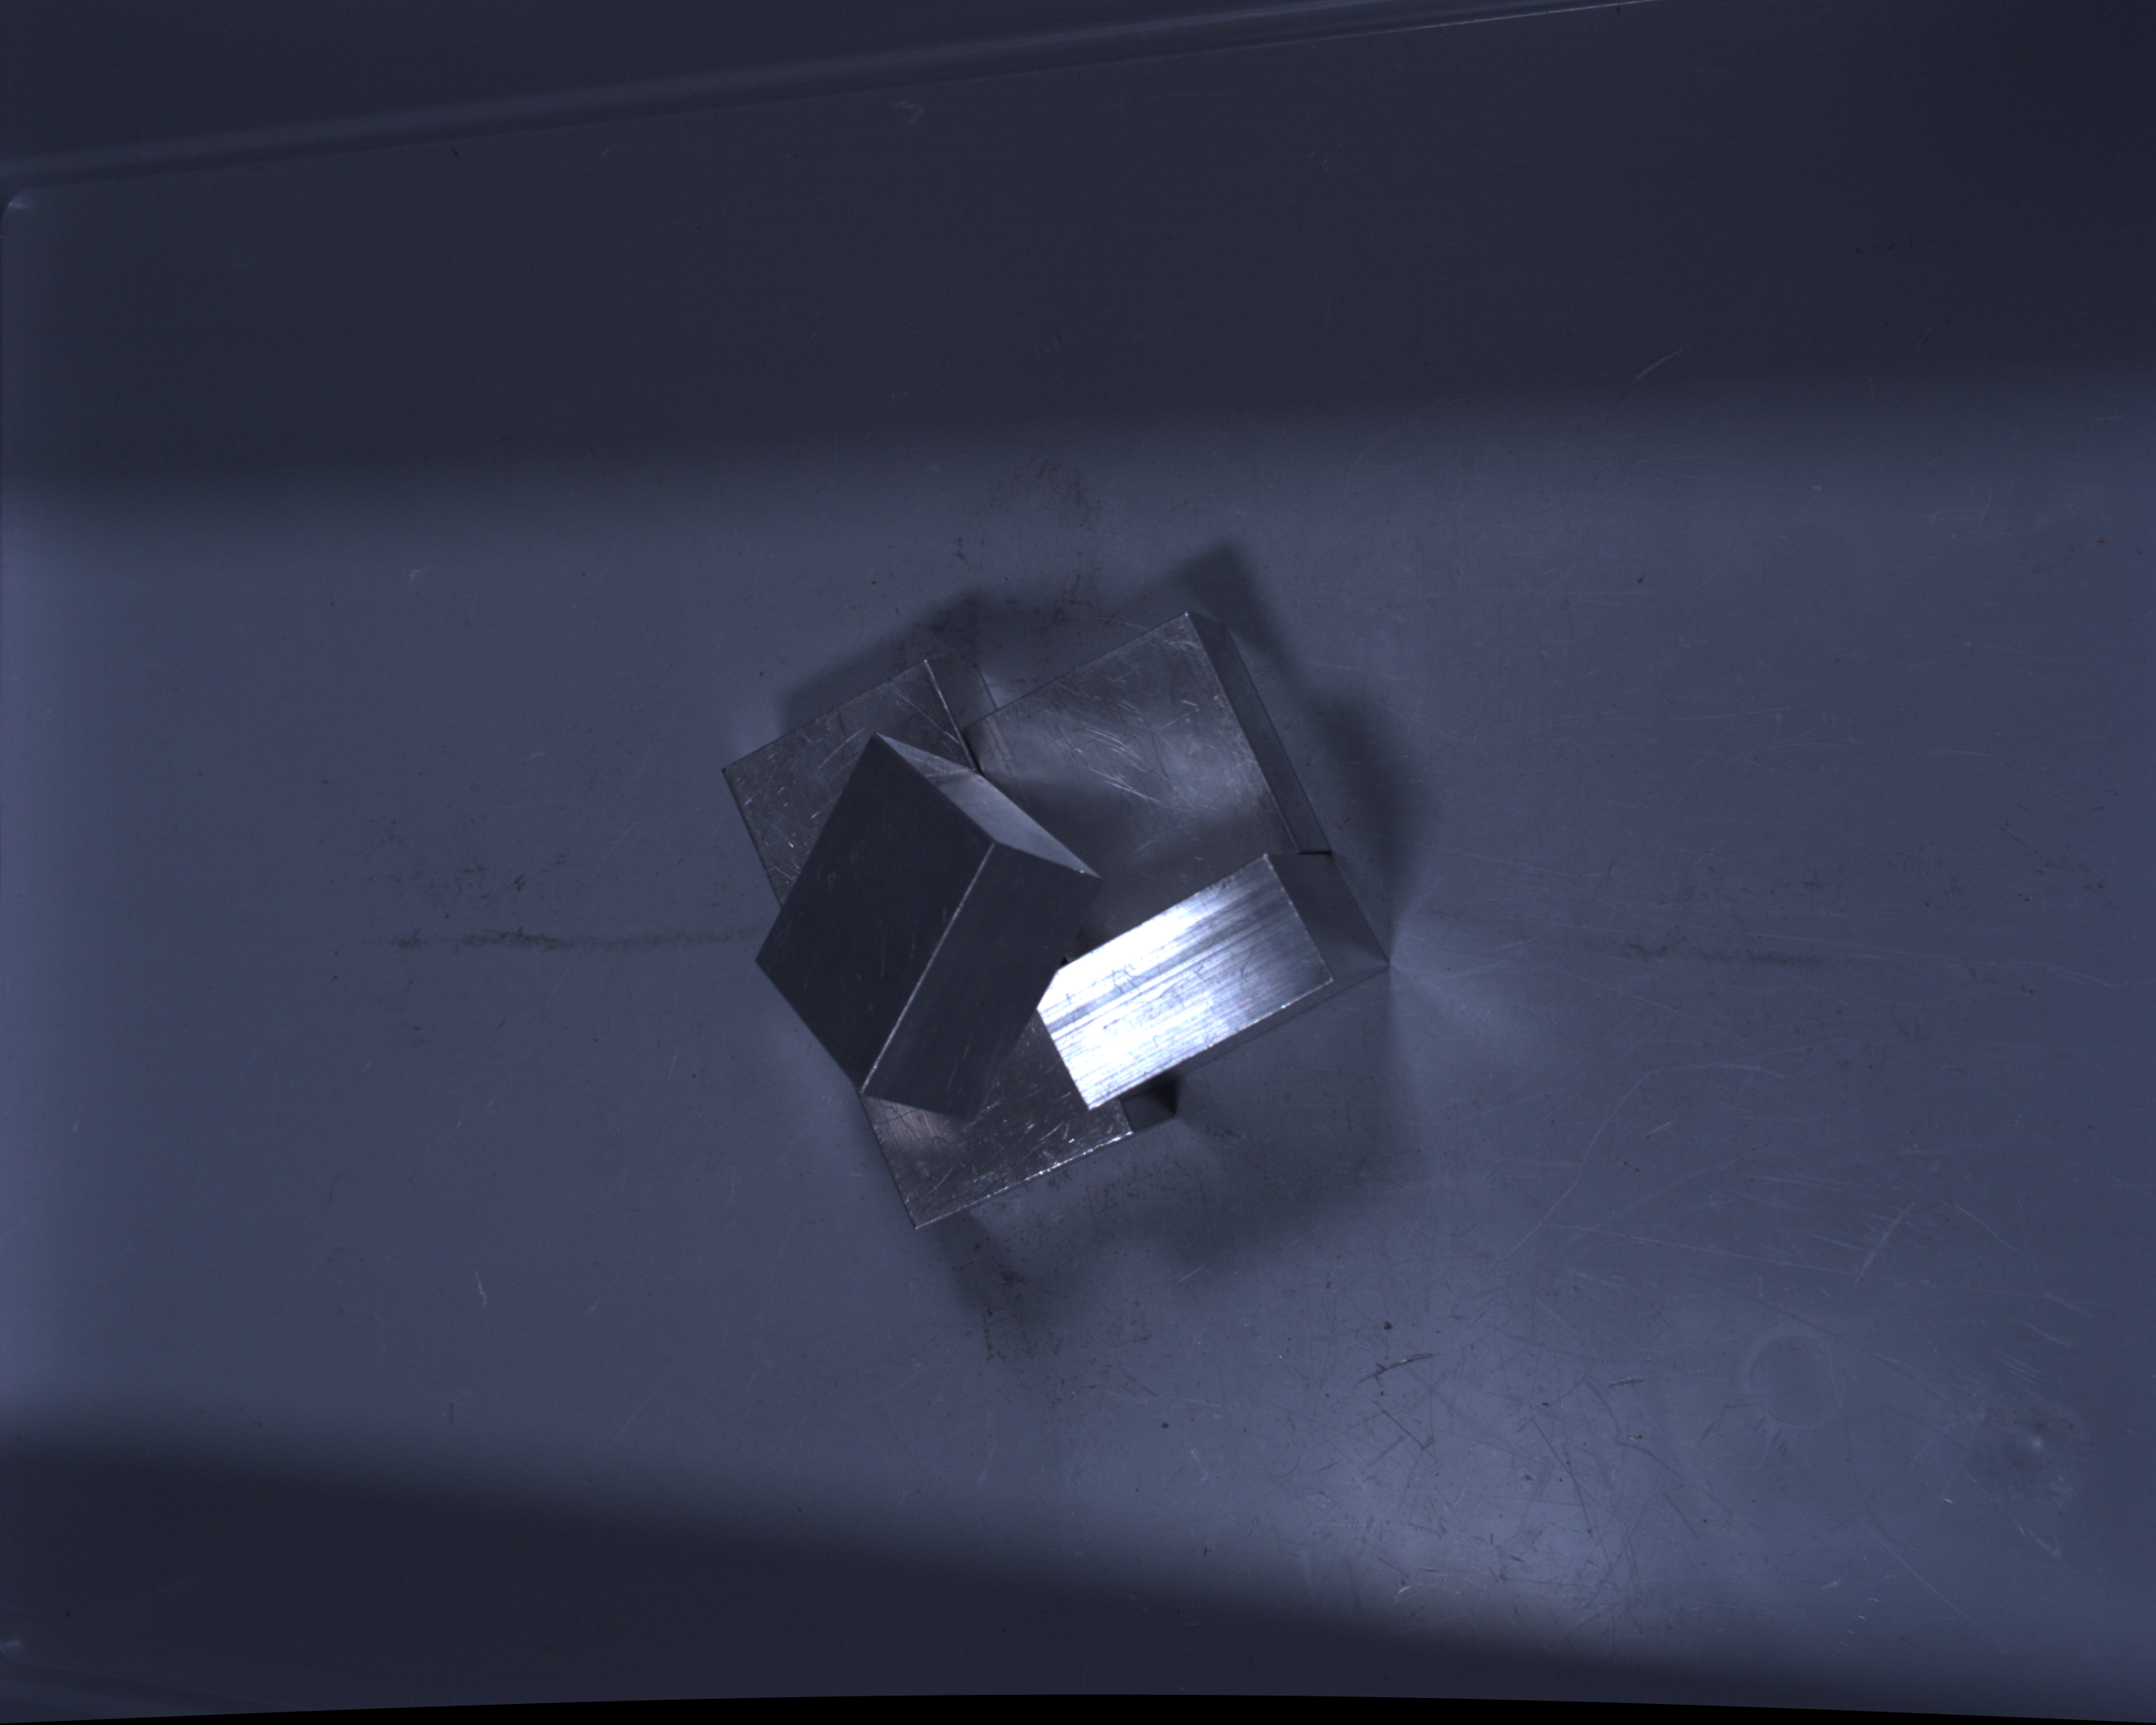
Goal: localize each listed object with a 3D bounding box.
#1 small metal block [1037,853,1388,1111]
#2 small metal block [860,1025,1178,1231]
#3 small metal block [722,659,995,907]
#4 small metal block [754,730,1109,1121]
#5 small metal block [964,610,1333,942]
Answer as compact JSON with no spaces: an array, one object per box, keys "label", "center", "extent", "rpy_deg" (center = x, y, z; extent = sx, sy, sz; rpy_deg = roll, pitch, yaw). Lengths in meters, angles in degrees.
[{"label":"small metal block","center":[0.025,0.021,0.386],"extent":[0.050,0.050,0.025],"rpy_deg":[-29,81,16]},{"label":"small metal block","center":[-0.016,0.039,0.414],"extent":[0.050,0.025,0.050],"rpy_deg":[-26,82,17]},{"label":"small metal block","center":[-0.036,-0.007,0.421],"extent":[0.050,0.025,0.050],"rpy_deg":[-26,82,17]},{"label":"small metal block","center":[-0.028,0.011,0.378],"extent":[0.050,0.025,0.050],"rpy_deg":[40,105,50]},{"label":"small metal block","center":[0.014,-0.014,0.403],"extent":[0.050,0.025,0.050],"rpy_deg":[-26,82,17]}]
